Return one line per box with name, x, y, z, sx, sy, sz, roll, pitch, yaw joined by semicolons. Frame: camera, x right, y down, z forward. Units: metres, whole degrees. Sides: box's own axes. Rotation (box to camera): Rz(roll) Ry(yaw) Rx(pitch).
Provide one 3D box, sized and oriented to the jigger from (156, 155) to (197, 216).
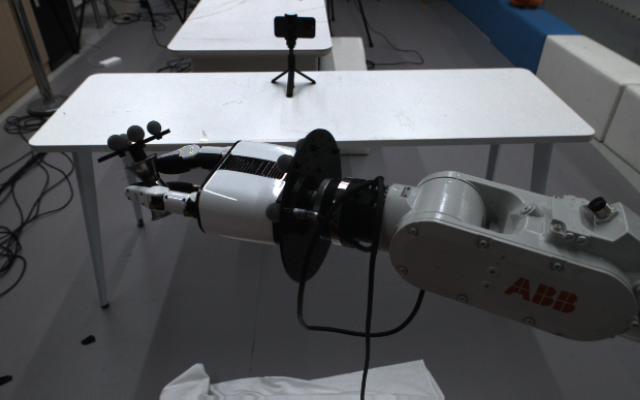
jigger;-0.187;-0.016;0.565;0.043;0.071;0.043;-23;15;7
